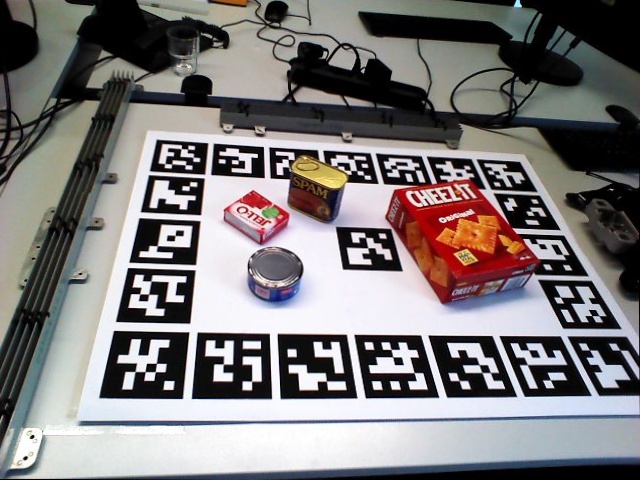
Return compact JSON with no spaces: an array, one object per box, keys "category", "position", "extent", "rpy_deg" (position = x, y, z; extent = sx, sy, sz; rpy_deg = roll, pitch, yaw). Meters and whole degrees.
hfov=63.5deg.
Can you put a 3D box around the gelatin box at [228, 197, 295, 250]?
[{"category":"gelatin box","position":[-0.100,-0.031,0.891],"extent":[0.089,0.030,0.073],"rpy_deg":[34,44,20]}]

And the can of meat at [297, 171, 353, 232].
[{"category":"can of meat","position":[0.010,-0.070,0.928],"extent":[0.102,0.084,0.057],"rpy_deg":[23,44,14]}]

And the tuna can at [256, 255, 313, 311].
[{"category":"tuna can","position":[-0.056,0.066,0.791],"extent":[0.086,0.034,0.085],"rpy_deg":[5,46,-6]}]

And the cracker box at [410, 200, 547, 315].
[{"category":"cracker box","position":[0.256,0.018,0.891],"extent":[0.164,0.072,0.213],"rpy_deg":[-8,44,-22]}]
